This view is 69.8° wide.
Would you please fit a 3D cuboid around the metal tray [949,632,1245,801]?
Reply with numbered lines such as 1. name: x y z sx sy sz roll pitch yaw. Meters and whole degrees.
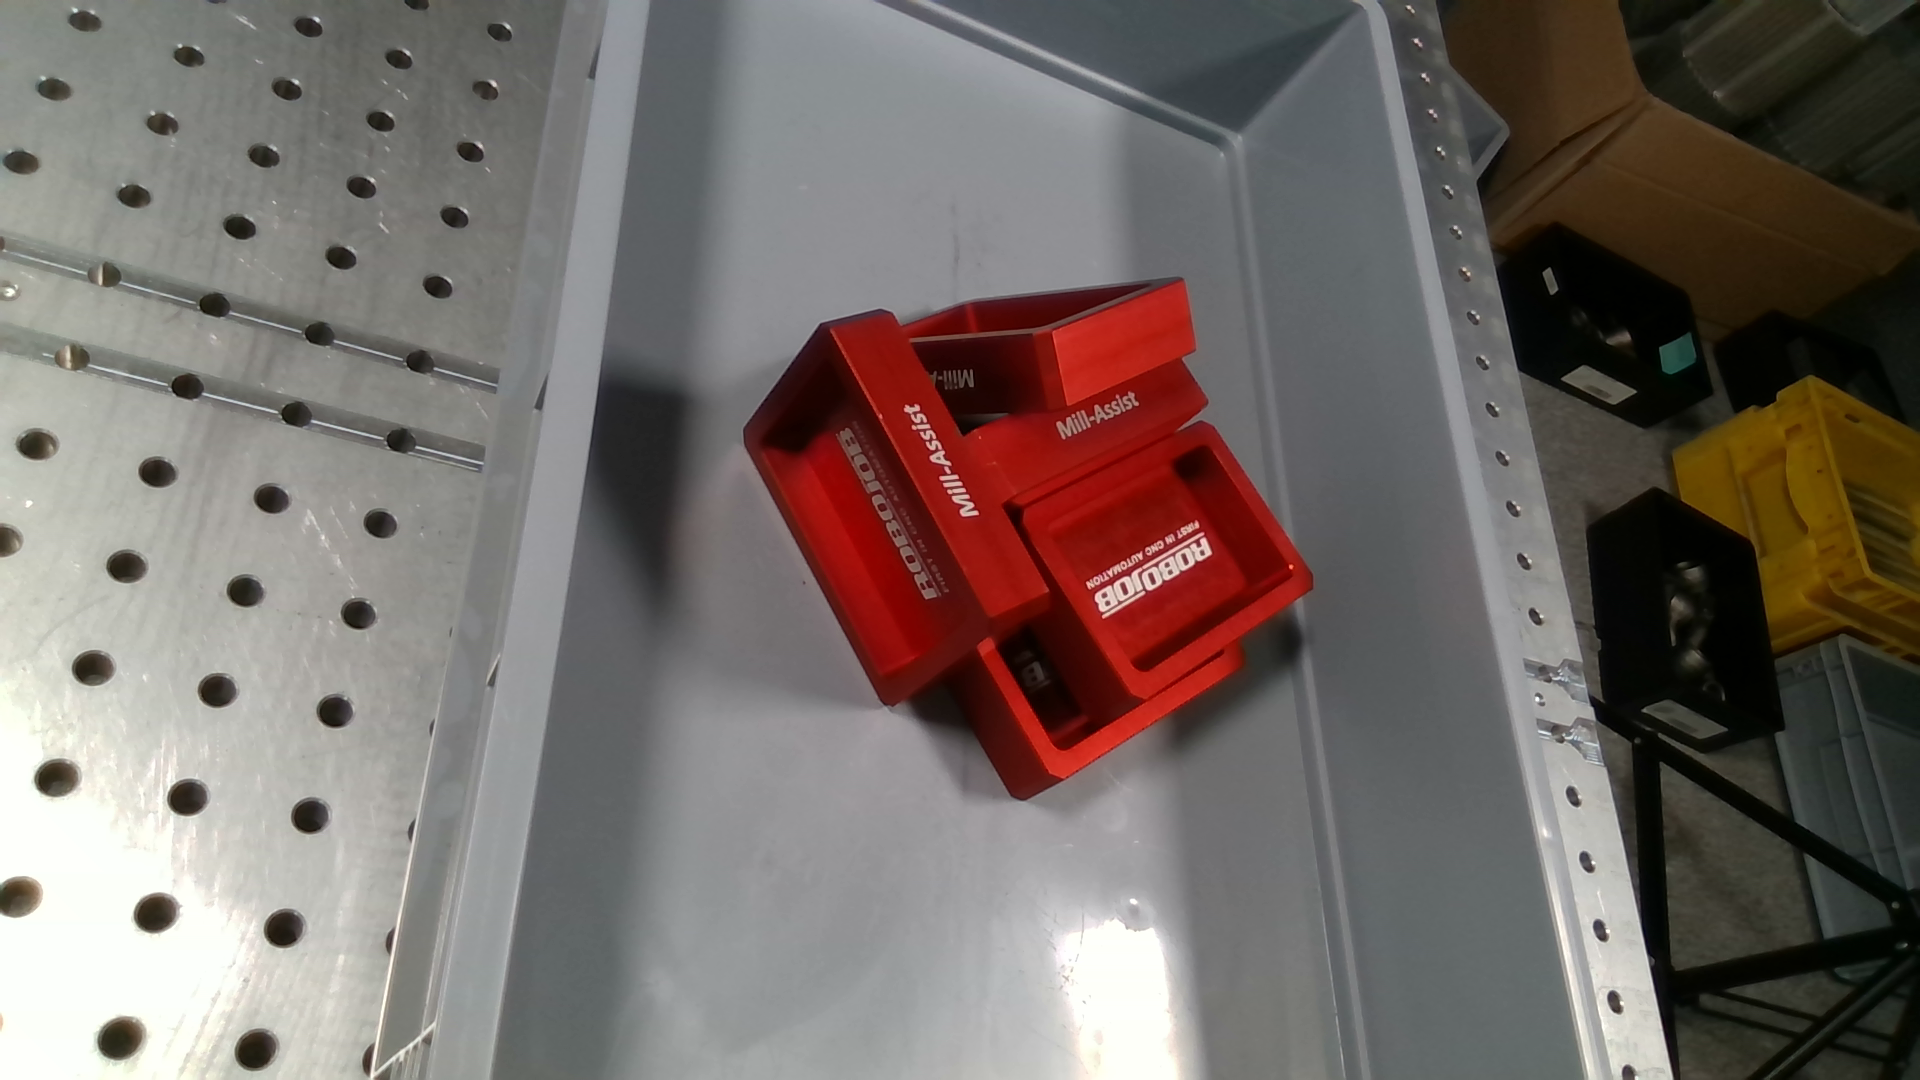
1. metal tray: 0.054 0.044 0.593 0.130 0.030 0.090 -23 77 -39

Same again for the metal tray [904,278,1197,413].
1. metal tray: 0.020 -0.080 0.574 0.090 0.130 0.030 -27 111 -39

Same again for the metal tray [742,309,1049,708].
1. metal tray: -0.029 -0.011 0.531 0.030 0.090 0.130 -21 78 -38

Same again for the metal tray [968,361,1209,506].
1. metal tray: 0.034 -0.031 0.579 0.130 0.090 0.030 -26 80 -38

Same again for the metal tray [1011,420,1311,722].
1. metal tray: 0.083 0.009 0.588 0.130 0.030 0.090 -26 80 -39
